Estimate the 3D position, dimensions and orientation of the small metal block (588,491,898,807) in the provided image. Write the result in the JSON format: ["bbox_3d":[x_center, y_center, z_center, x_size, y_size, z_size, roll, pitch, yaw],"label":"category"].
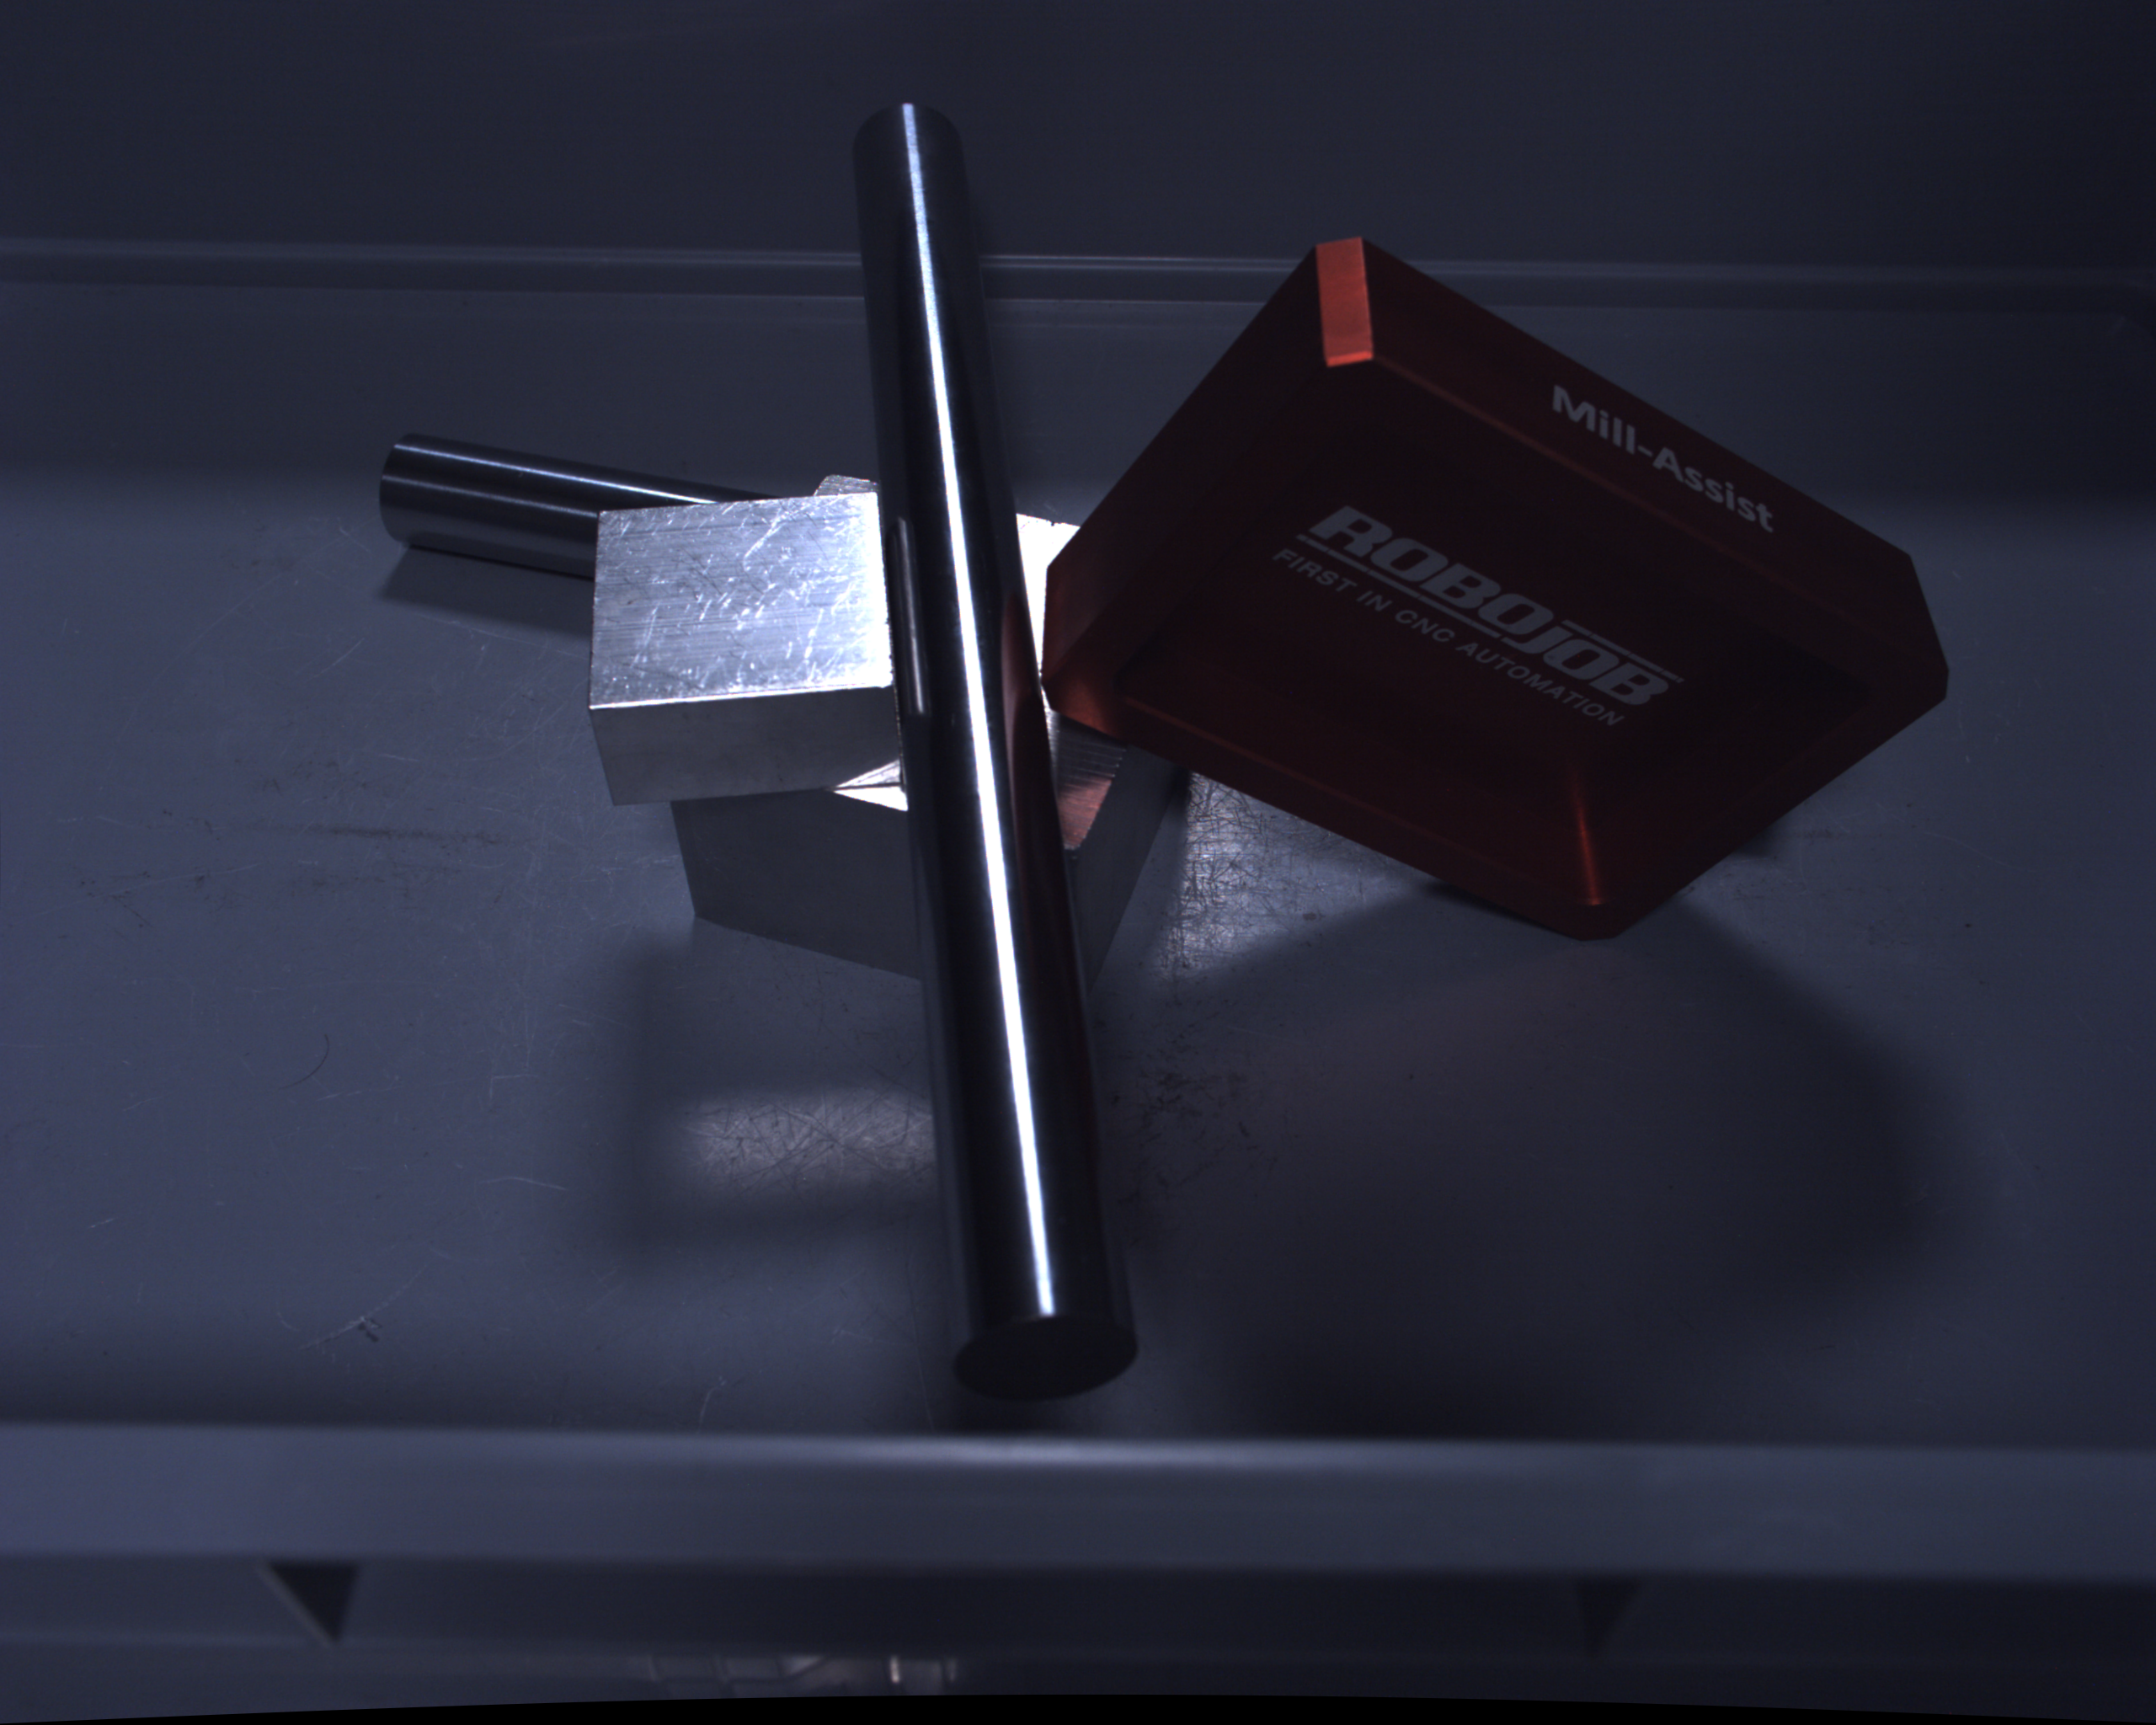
[{"bbox_3d":[-0.058,-0.039,0.370,0.050,0.025,0.050,-5,50,-5],"label":"small metal block"}]

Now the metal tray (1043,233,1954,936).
[{"bbox_3d":[0.071,-0.041,0.362,0.131,0.090,0.030,22,47,-24],"label":"metal tray"}]

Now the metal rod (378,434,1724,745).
[{"bbox_3d":[-0.006,-0.056,0.451,0.301,0.025,0.025,11,51,9],"label":"metal rod"}]

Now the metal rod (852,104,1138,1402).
[{"bbox_3d":[-0.022,-0.047,0.377,0.025,0.025,0.300,-5,50,-5],"label":"metal rod"}]

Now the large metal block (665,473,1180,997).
[{"bbox_3d":[-0.025,-0.024,0.407,0.080,0.050,0.080,14,51,11],"label":"large metal block"}]
